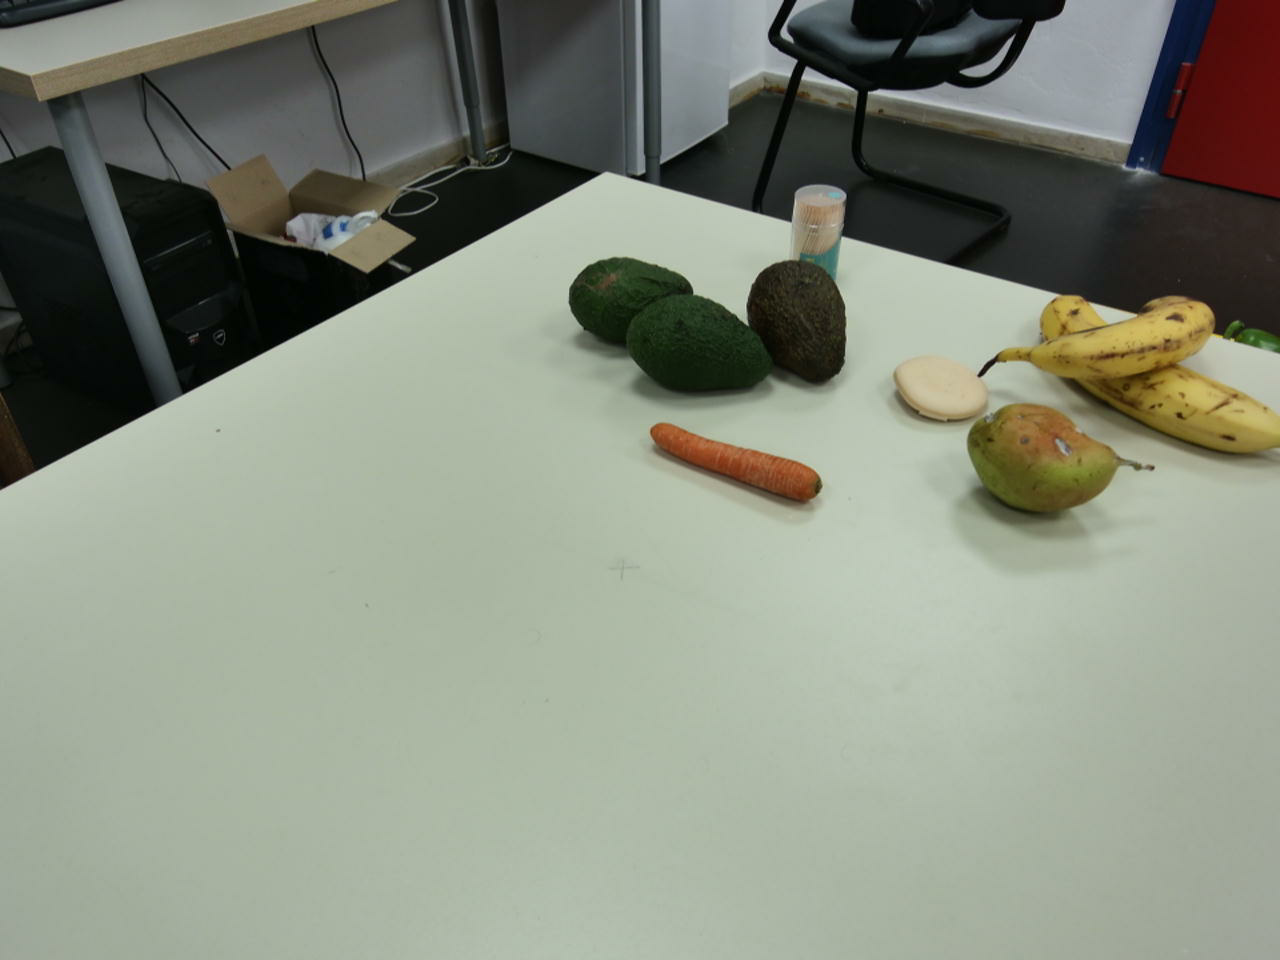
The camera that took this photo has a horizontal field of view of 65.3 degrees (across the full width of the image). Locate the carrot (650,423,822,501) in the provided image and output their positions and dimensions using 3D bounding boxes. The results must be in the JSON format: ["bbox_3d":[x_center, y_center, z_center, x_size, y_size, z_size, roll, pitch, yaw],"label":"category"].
[{"bbox_3d":[0.058,-0.014,0.636,0.122,0.023,0.024,22,43,26],"label":"carrot"}]
